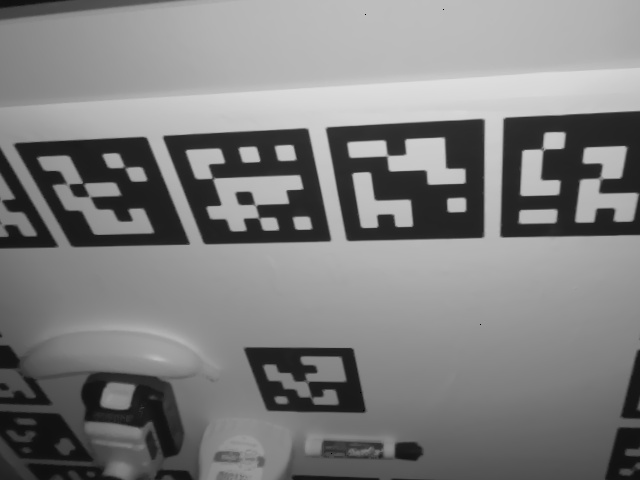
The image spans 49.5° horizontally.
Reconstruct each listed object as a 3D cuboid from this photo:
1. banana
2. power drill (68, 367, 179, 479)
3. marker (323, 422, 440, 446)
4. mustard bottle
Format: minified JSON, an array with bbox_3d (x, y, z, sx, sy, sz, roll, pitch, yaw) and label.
[{"bbox_3d":[-0.177,0.087,0.661,0.197,0.039,0.073,4,127,4],"label":"banana"},{"bbox_3d":[-0.188,0.215,0.641,0.057,0.189,0.182,10,132,4],"label":"power drill"},{"bbox_3d":[0.064,0.204,0.726,0.121,0.020,0.019,0,127,9],"label":"marker"},{"bbox_3d":[-0.073,0.253,0.675,0.096,0.194,0.058,8,129,5],"label":"mustard bottle"}]
